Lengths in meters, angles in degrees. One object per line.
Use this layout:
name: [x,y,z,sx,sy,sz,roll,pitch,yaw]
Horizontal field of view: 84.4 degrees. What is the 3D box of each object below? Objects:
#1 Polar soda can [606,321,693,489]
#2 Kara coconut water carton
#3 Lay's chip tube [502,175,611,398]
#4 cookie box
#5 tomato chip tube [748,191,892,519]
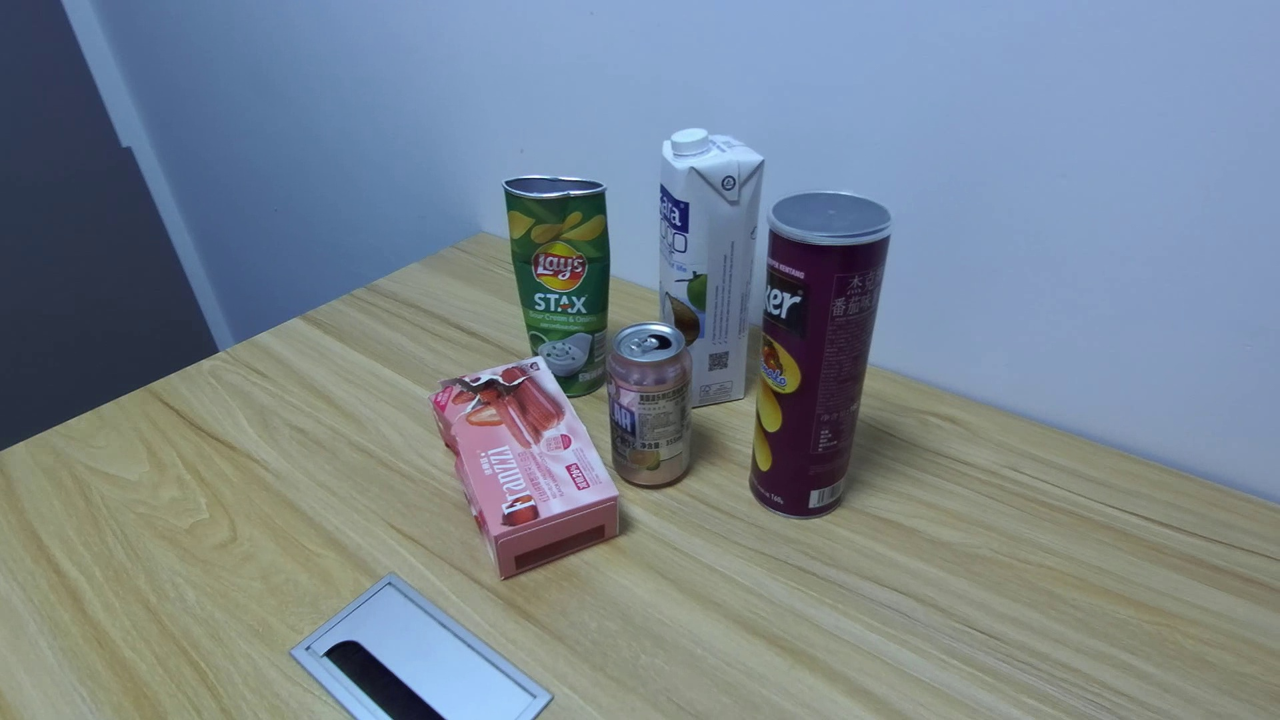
Polar soda can: [0.008,0.037,0.565,0.067,0.126,0.067,-2,33,2]
Kara coconut water carton: [0.058,-0.076,0.615,0.075,0.245,0.076,-9,35,-13]
Lay's chip tube: [-0.069,-0.064,0.646,0.075,0.200,0.068,-16,36,-20]
cookie box: [-0.094,0.076,0.569,0.105,0.059,0.185,-19,39,-19]
tomato chip tube: [0.123,0.006,0.502,0.078,0.234,0.078,-2,35,2]
